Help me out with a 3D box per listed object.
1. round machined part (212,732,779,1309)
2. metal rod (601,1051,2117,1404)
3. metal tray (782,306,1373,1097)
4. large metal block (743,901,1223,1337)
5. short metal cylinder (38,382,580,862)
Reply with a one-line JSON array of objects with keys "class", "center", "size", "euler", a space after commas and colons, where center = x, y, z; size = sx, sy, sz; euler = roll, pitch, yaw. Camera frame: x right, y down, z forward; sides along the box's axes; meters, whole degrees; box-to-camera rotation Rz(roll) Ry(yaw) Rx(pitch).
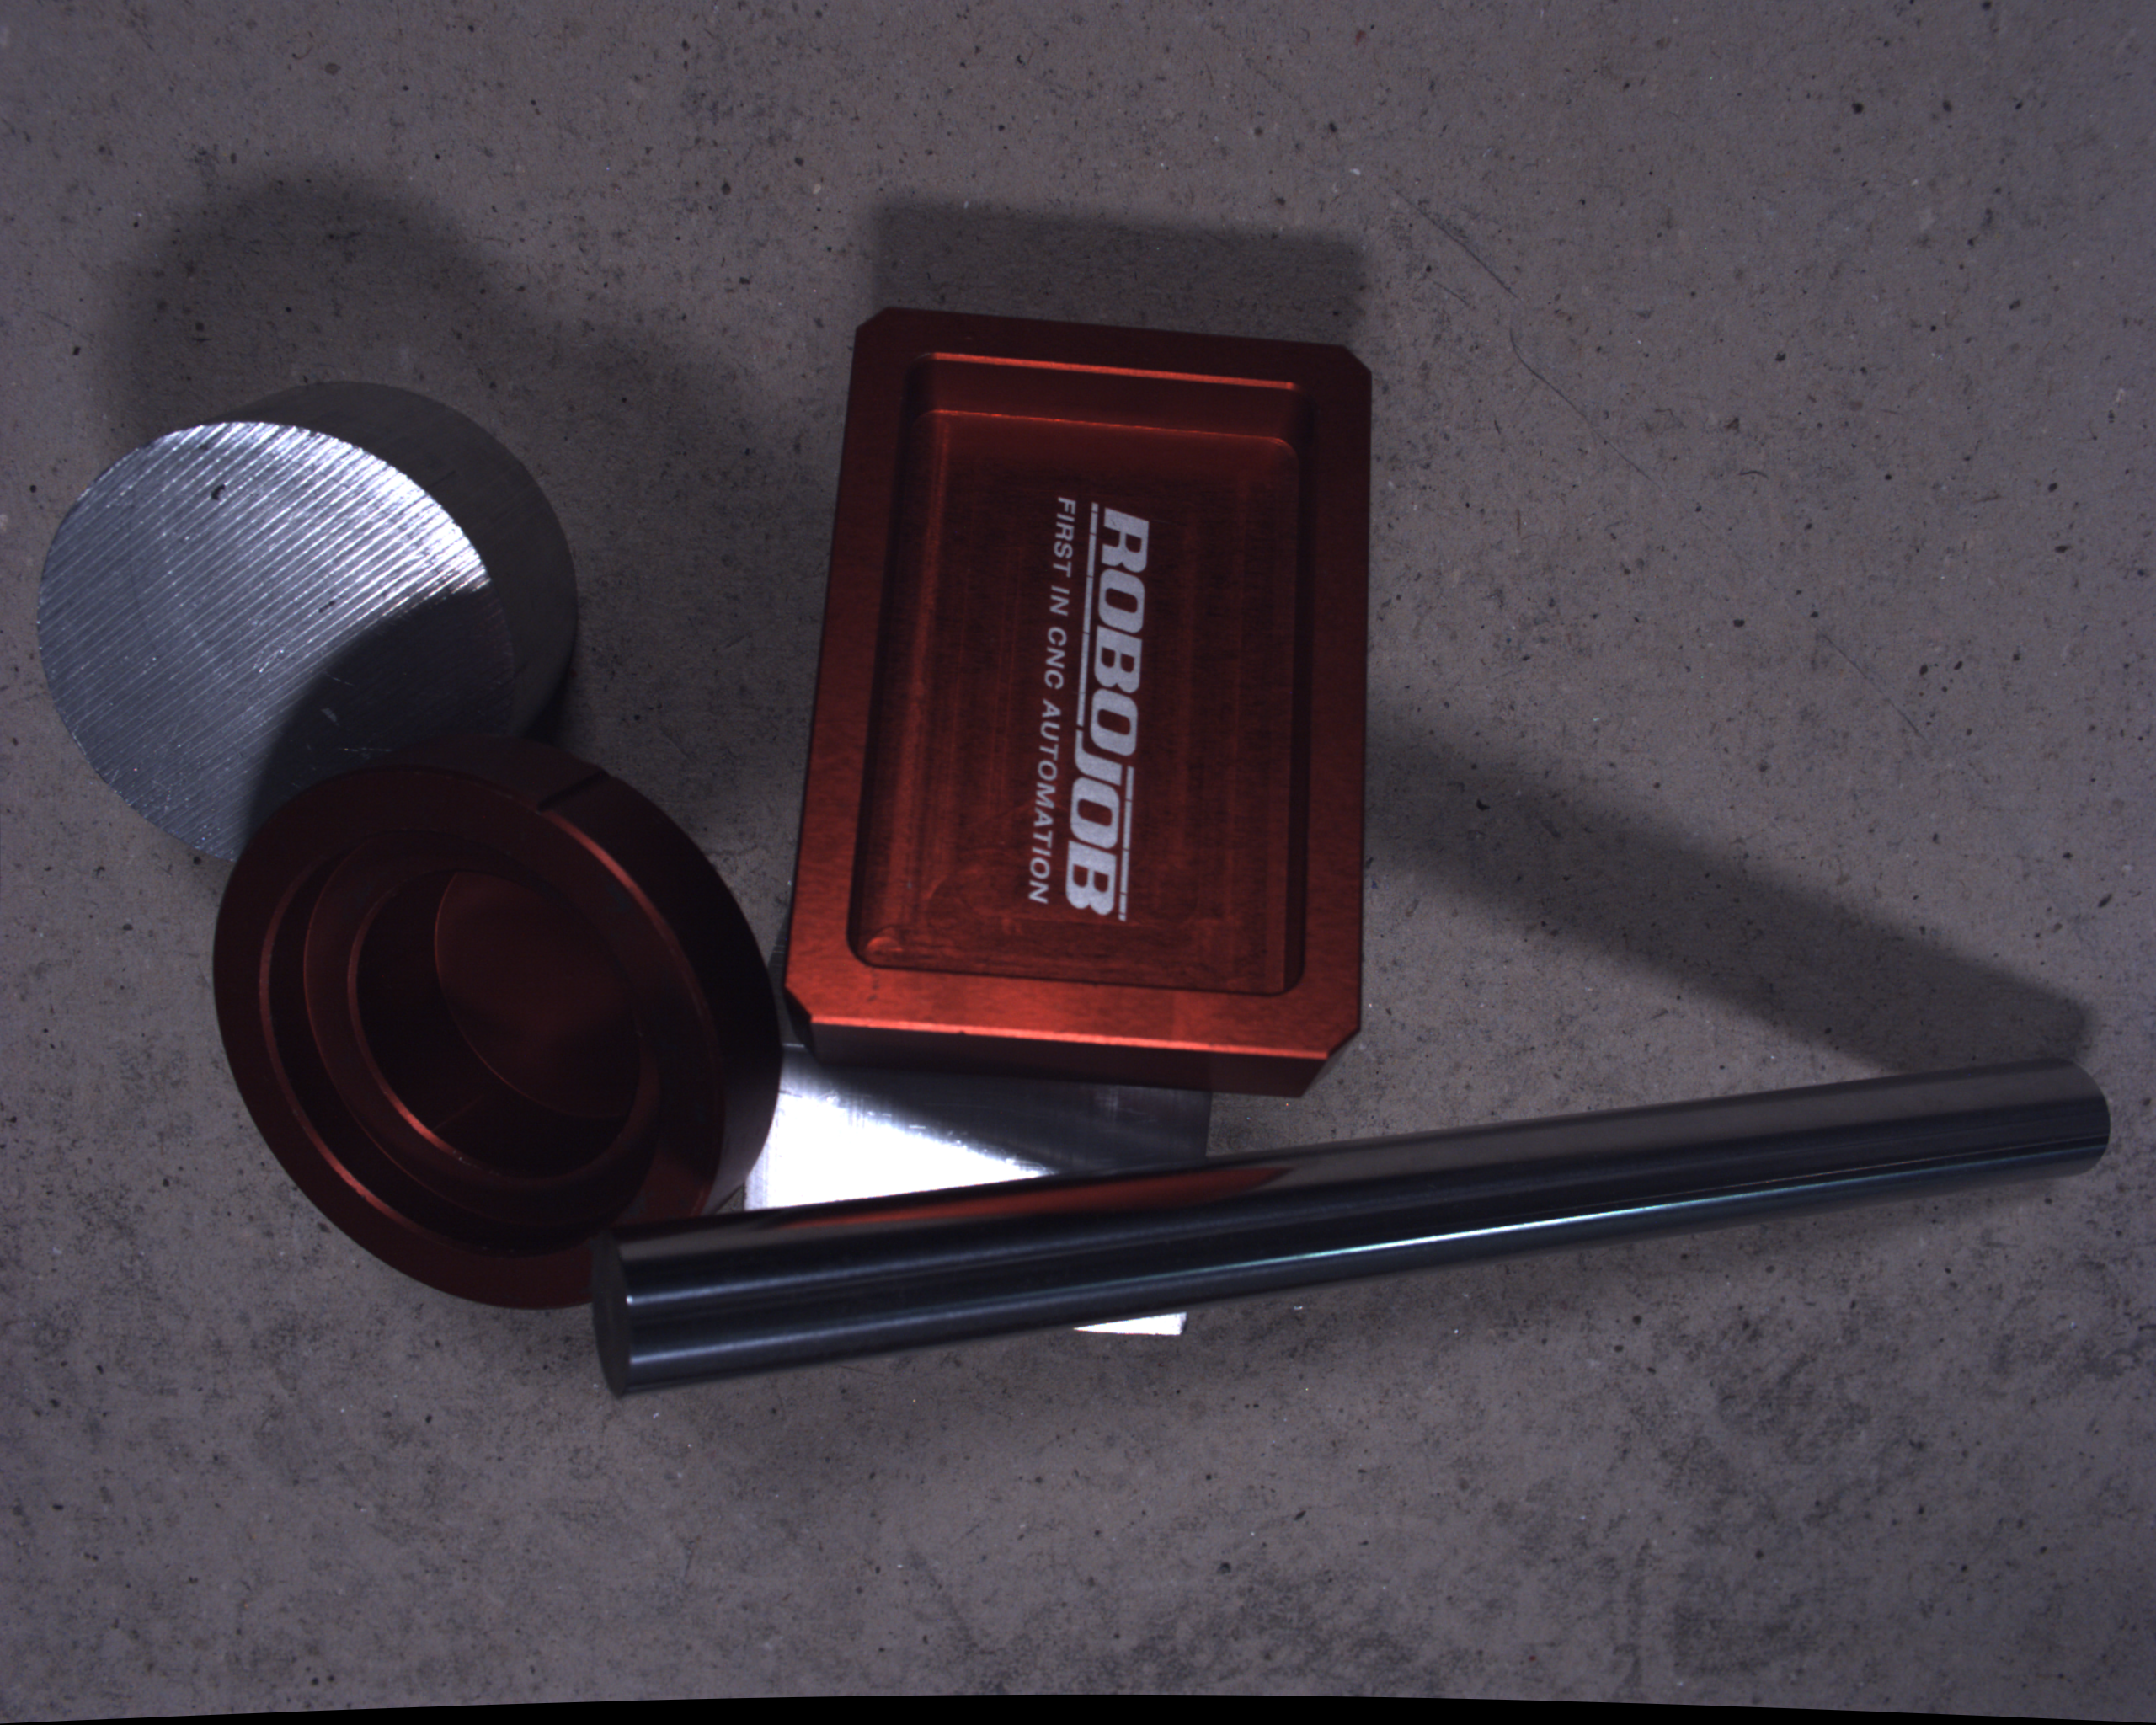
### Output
[{"class": "round machined part", "center": [-0.096, 0.024, 0.362], "size": [0.098, 0.042, 0.097], "euler": [6, 110, 18]}, {"class": "metal rod", "center": [0.069, 0.059, 0.371], "size": [0.303, 0.025, 0.025], "euler": [-3, 112, -25]}, {"class": "metal tray", "center": [0.002, -0.029, 0.357], "size": [0.091, 0.030, 0.130], "euler": [4, 70, -2]}, {"class": "large metal block", "center": [-0.018, 0.044, 0.397], "size": [0.081, 0.080, 0.050], "euler": [4, 110, -2]}, {"class": "short metal cylinder", "center": [-0.137, -0.044, 0.380], "size": [0.081, 0.050, 0.079], "euler": [0, 110, -1]}]
